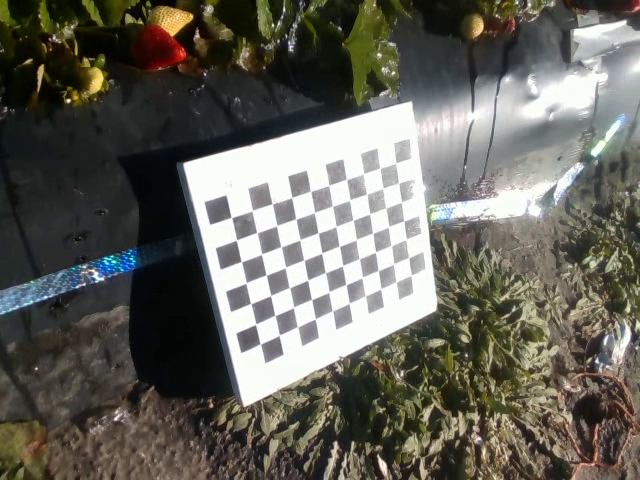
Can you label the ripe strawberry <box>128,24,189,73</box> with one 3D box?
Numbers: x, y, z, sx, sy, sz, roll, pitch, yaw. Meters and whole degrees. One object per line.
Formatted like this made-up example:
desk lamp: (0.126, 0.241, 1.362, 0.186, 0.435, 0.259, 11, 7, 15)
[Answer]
ripe strawberry: (-0.132, -0.157, 0.480, 0.053, 0.040, 0.042, 24, -17, 29)
